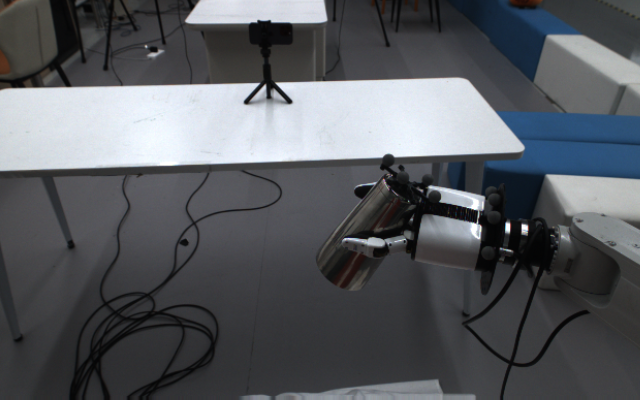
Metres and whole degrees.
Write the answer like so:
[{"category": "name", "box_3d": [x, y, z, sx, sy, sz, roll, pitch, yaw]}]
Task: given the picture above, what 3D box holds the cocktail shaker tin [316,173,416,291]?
[{"category": "cocktail shaker tin", "box_3d": [0.075, 0.040, 0.717, 0.093, 0.170, 0.093, 26, 32, -17]}]
